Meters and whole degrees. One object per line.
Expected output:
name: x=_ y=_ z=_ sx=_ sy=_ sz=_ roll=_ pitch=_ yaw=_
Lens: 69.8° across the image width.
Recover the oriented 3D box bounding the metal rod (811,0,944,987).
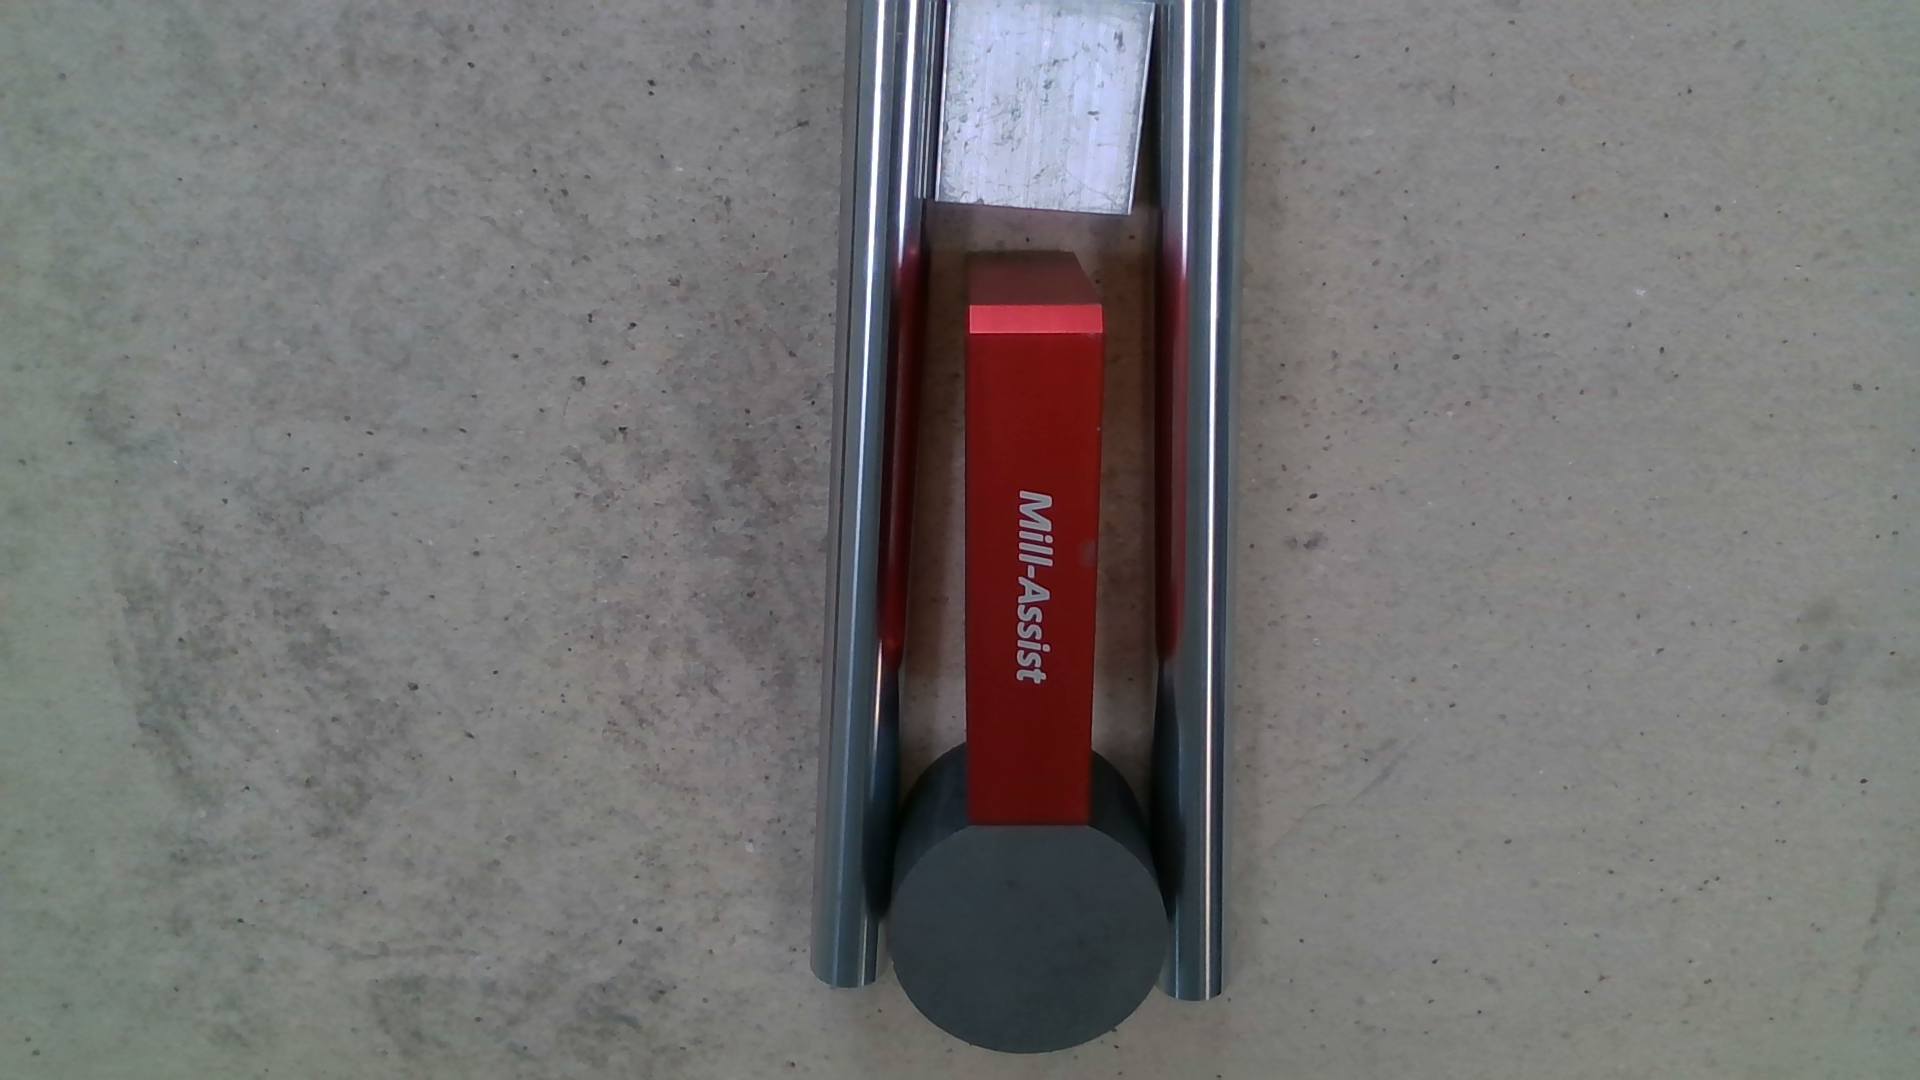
metal rod: x=-0.025 y=-0.005 z=0.392 sx=0.025 sy=0.025 sz=0.301 roll=4 pitch=110 yaw=-1

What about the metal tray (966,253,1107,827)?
metal tray: x=0.017 y=-0.003 z=0.357 sx=0.030 sy=0.090 sz=0.130 roll=0 pitch=110 yaw=0

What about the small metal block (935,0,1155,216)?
small metal block: x=0.020 y=-0.112 z=0.353 sx=0.050 sy=0.025 sz=0.050 roll=4 pitch=110 yaw=-1

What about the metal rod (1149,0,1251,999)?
metal rod: x=0.067 y=0.000 z=0.394 sx=0.025 sy=0.025 sz=0.301 roll=-3 pitch=110 yaw=1

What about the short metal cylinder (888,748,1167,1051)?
short metal cylinder: x=0.019 y=0.106 z=0.419 sx=0.080 sy=0.050 sz=0.080 roll=0 pitch=110 yaw=0
